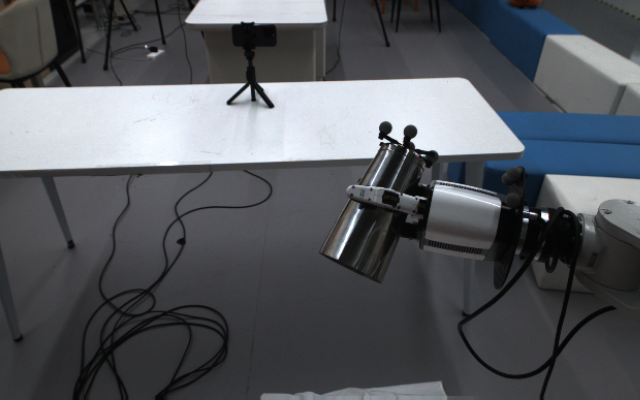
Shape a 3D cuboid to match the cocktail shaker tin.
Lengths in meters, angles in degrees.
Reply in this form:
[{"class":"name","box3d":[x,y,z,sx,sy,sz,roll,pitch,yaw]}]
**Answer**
[{"class":"cocktail shaker tin","box3d":[0.078,0.010,0.644,0.093,0.093,0.170,21,81,25]}]
